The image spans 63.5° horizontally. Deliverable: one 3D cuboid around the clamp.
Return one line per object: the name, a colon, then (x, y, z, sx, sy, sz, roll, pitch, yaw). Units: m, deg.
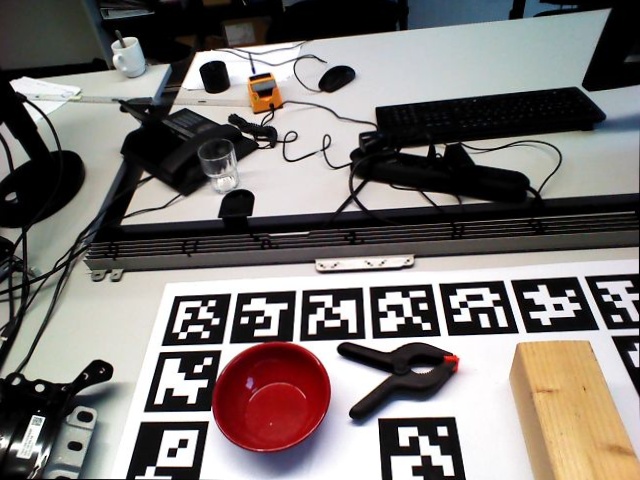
clamp: (0.106, 0.185, 0.716, 0.165, 0.037, 0.121, -11, 45, -2)

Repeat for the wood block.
wood block: (0.306, 0.223, 0.590, 0.090, 0.091, 0.205, -2, 46, 8)

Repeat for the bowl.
bowl: (-0.057, 0.218, 0.698, 0.162, 0.055, 0.160, -5, 48, 5)
